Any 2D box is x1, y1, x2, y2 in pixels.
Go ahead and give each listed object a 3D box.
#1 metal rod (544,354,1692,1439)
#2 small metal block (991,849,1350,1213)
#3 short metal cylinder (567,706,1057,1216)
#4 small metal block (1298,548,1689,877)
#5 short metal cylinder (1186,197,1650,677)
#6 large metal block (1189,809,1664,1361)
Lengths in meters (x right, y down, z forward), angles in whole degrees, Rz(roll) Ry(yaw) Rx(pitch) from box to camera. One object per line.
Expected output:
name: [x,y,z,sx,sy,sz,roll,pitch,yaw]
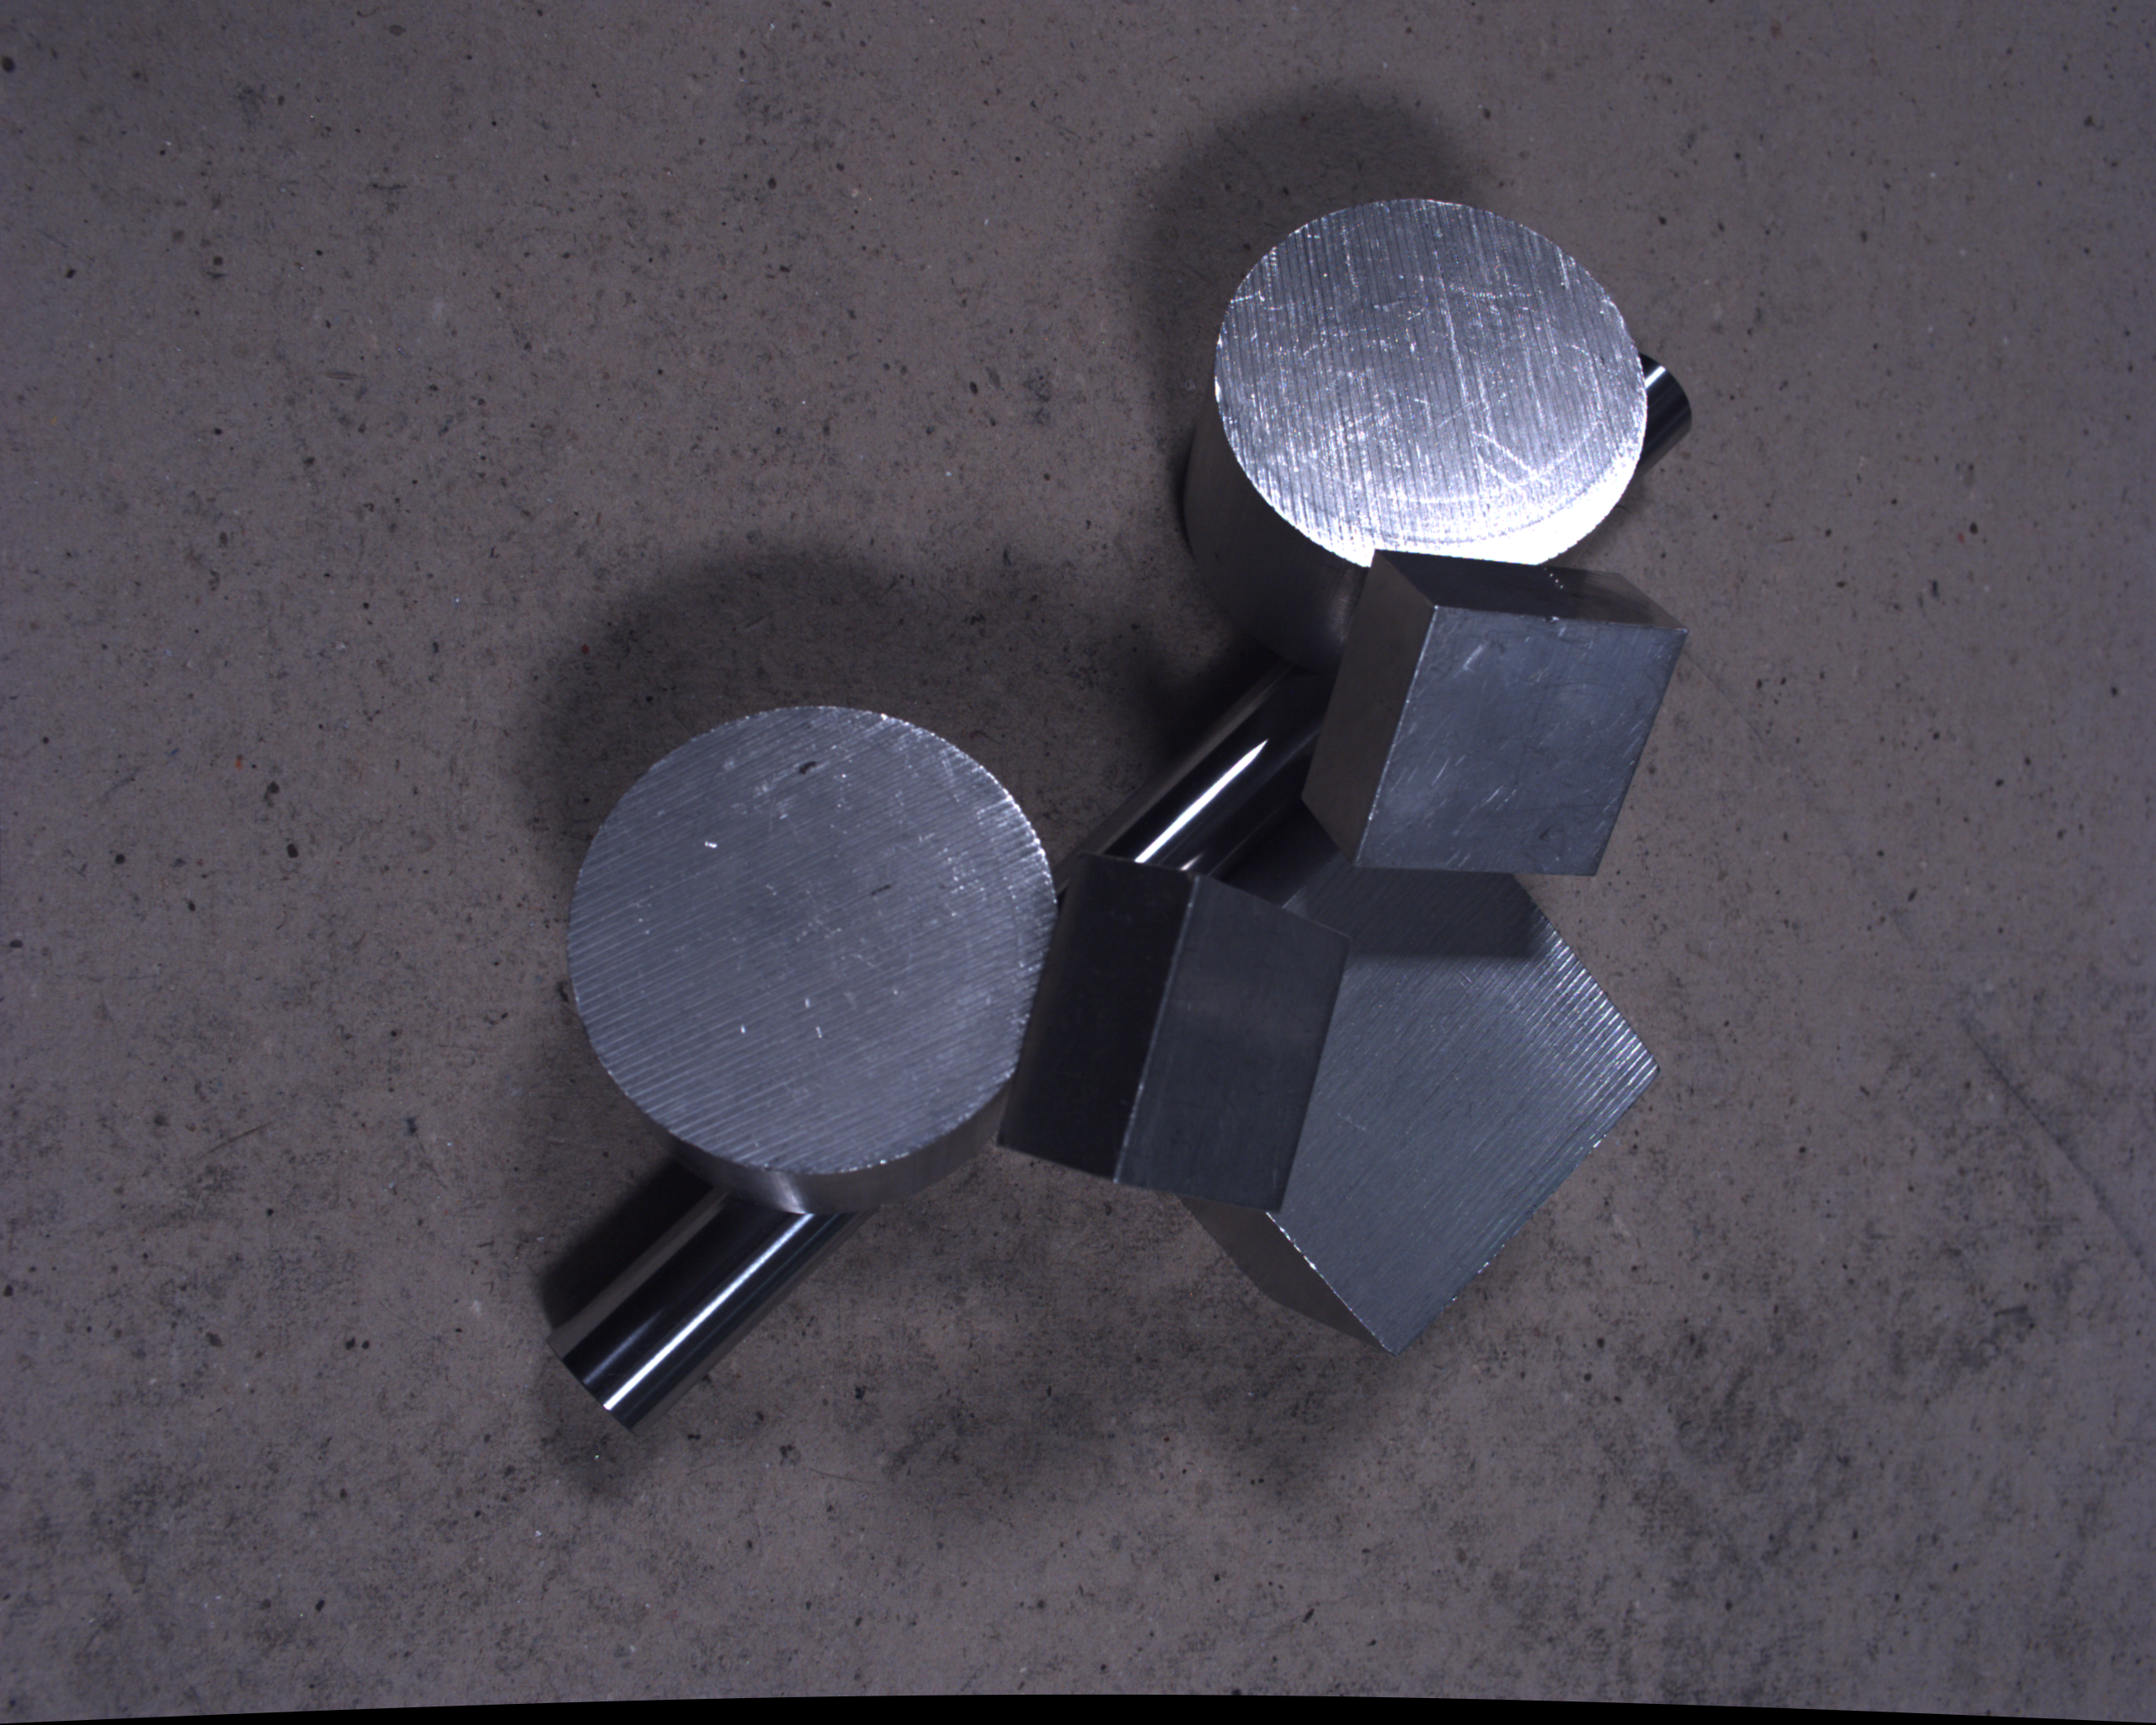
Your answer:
metal rod: [0.018,-0.003,0.418,0.301,0.025,0.025,-43,104,-15]
small metal block: [0.017,0.029,0.352,0.050,0.025,0.050,22,82,-51]
short metal cylinder: [-0.045,0.019,0.366,0.081,0.050,0.080,1,72,-4]
small metal block: [0.073,-0.026,0.372,0.050,0.025,0.050,2,120,-20]
short metal cylinder: [0.064,-0.081,0.406,0.081,0.050,0.080,1,72,-4]
large metal block: [0.054,0.037,0.416,0.080,0.050,0.080,-43,104,-15]
